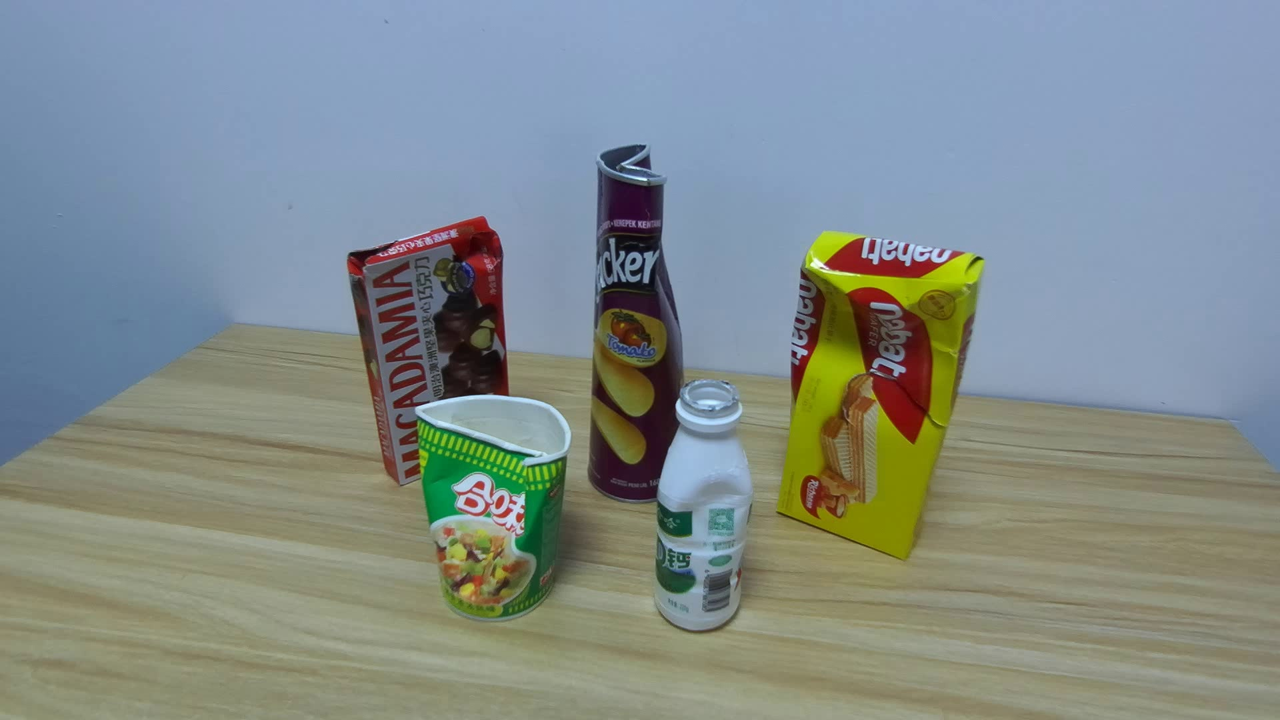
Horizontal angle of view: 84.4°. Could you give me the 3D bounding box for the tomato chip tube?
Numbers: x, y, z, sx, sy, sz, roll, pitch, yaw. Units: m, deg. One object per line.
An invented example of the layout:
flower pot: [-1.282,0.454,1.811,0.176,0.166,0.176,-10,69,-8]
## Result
tomato chip tube: [0.002,-0.018,0.481,0.076,0.235,0.078,23,35,37]

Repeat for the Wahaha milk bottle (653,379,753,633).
Wahaha milk bottle: [0.033,0.081,0.390,0.055,0.149,0.055,-1,29,1]

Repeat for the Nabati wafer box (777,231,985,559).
Nabati wafer box: [0.140,0.023,0.442,0.106,0.204,0.042,18,34,28]

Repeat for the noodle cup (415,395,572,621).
noodle cup: [-0.084,0.088,0.418,0.075,0.122,0.082,-7,21,-27]

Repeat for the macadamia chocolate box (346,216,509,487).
macadamia chocolate box: [-0.143,-0.005,0.508,0.103,0.187,0.027,-20,39,-33]
